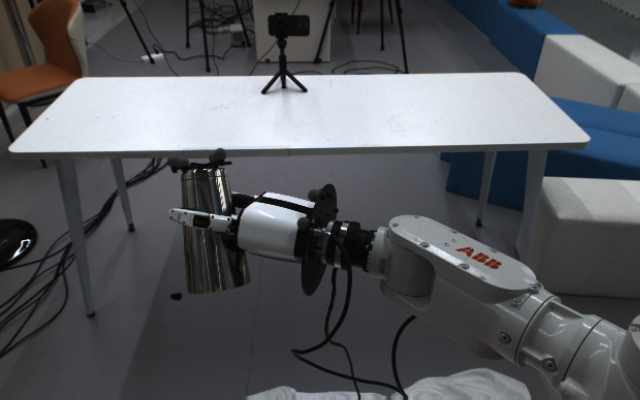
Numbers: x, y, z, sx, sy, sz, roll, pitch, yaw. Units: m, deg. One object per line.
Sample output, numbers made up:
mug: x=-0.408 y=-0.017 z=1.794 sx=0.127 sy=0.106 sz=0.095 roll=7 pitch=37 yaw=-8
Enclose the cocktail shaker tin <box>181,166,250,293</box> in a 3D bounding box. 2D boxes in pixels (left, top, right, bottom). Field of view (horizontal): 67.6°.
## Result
cocktail shaker tin: x=-0.159 y=0.043 z=0.707 sx=0.093 sy=0.170 sz=0.093 roll=-8 pitch=1 yaw=0
